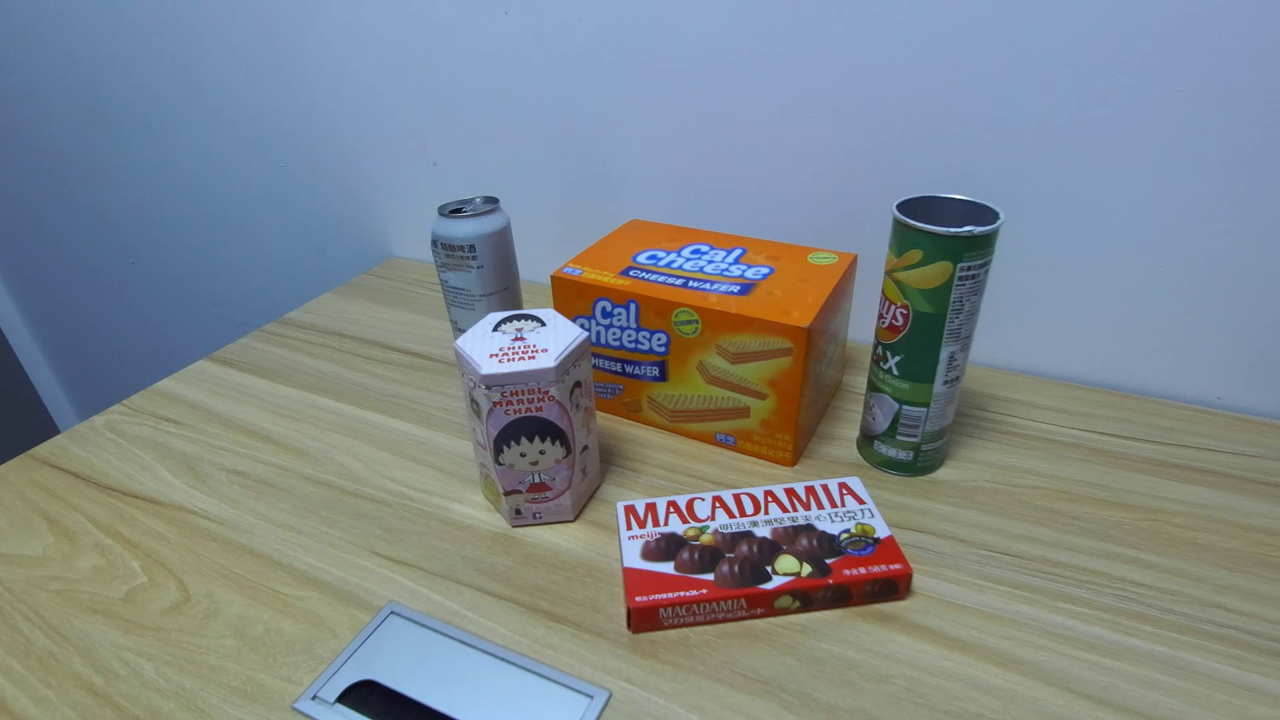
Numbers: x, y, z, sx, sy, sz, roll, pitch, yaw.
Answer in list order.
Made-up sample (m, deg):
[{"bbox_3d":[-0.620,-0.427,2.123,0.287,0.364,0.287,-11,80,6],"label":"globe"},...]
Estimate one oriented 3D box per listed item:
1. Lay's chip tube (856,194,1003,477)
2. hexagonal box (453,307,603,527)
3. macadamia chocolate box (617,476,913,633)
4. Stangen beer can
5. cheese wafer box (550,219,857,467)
[{"bbox_3d":[0.206,-0.014,0.515,0.071,0.203,0.071,-2,31,2],"label":"Lay's chip tube"},{"bbox_3d":[-0.076,0.042,0.507,0.091,0.136,0.083,-5,32,-4],"label":"hexagonal box"},{"bbox_3d":[0.076,0.125,0.468,0.178,0.027,0.095,-5,30,-4],"label":"macadamia chocolate box"},{"bbox_3d":[-0.143,-0.061,0.648,0.070,0.173,0.069,1,26,11],"label":"Stangen beer can"},{"bbox_3d":[0.057,-0.025,0.616,0.221,0.129,0.148,14,36,24],"label":"cheese wafer box"}]
